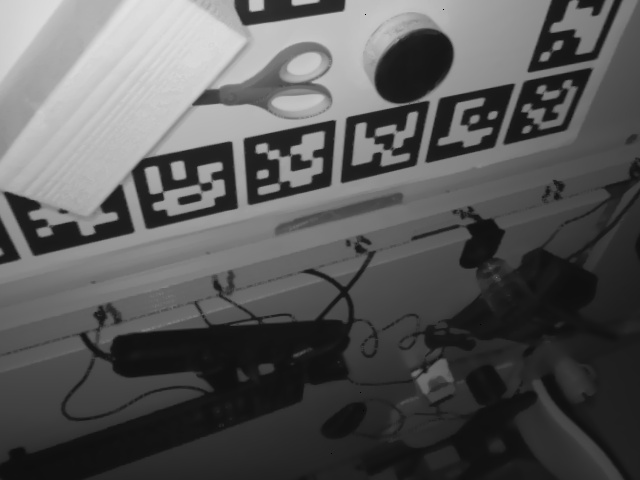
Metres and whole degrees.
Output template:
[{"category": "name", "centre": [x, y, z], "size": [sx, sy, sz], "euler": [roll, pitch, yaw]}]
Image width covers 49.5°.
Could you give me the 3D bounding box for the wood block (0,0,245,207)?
[{"category": "wood block", "centre": [-0.170, -0.135, 0.543], "size": [0.204, 0.091, 0.091], "euler": [-41, 142, 19]}]

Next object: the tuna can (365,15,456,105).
[{"category": "tuna can", "centre": [0.089, -0.178, 0.688], "size": [0.086, 0.034, 0.085], "euler": [-17, 141, -13]}]

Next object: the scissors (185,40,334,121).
[{"category": "scissors", "centre": [-0.078, -0.143, 0.647], "size": [0.206, 0.016, 0.086], "euler": [-10, 139, -25]}]
